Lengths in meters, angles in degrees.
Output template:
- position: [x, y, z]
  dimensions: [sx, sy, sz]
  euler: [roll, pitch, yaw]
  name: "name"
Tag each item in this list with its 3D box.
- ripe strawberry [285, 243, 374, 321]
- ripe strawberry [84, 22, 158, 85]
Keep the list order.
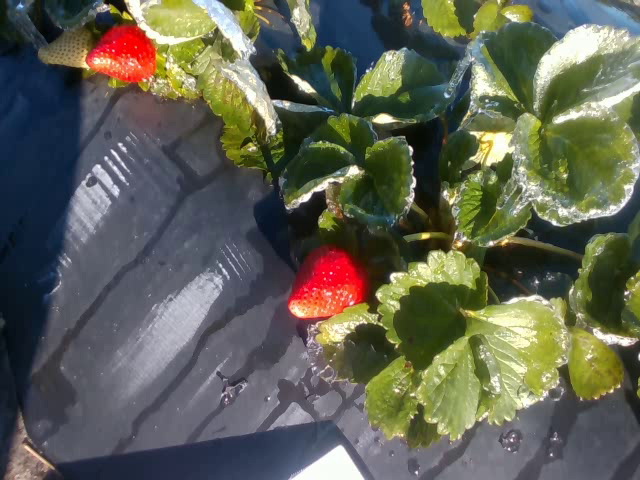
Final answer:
- position: [0.001, 0.025, 0.298]
  dimensions: [0.052, 0.042, 0.047]
  euler: [-22, -28, -47]
  name: "ripe strawberry"
- position: [-0.124, -0.113, 0.362]
  dimensions: [0.037, 0.040, 0.051]
  euler: [39, 28, 17]
  name: "ripe strawberry"
